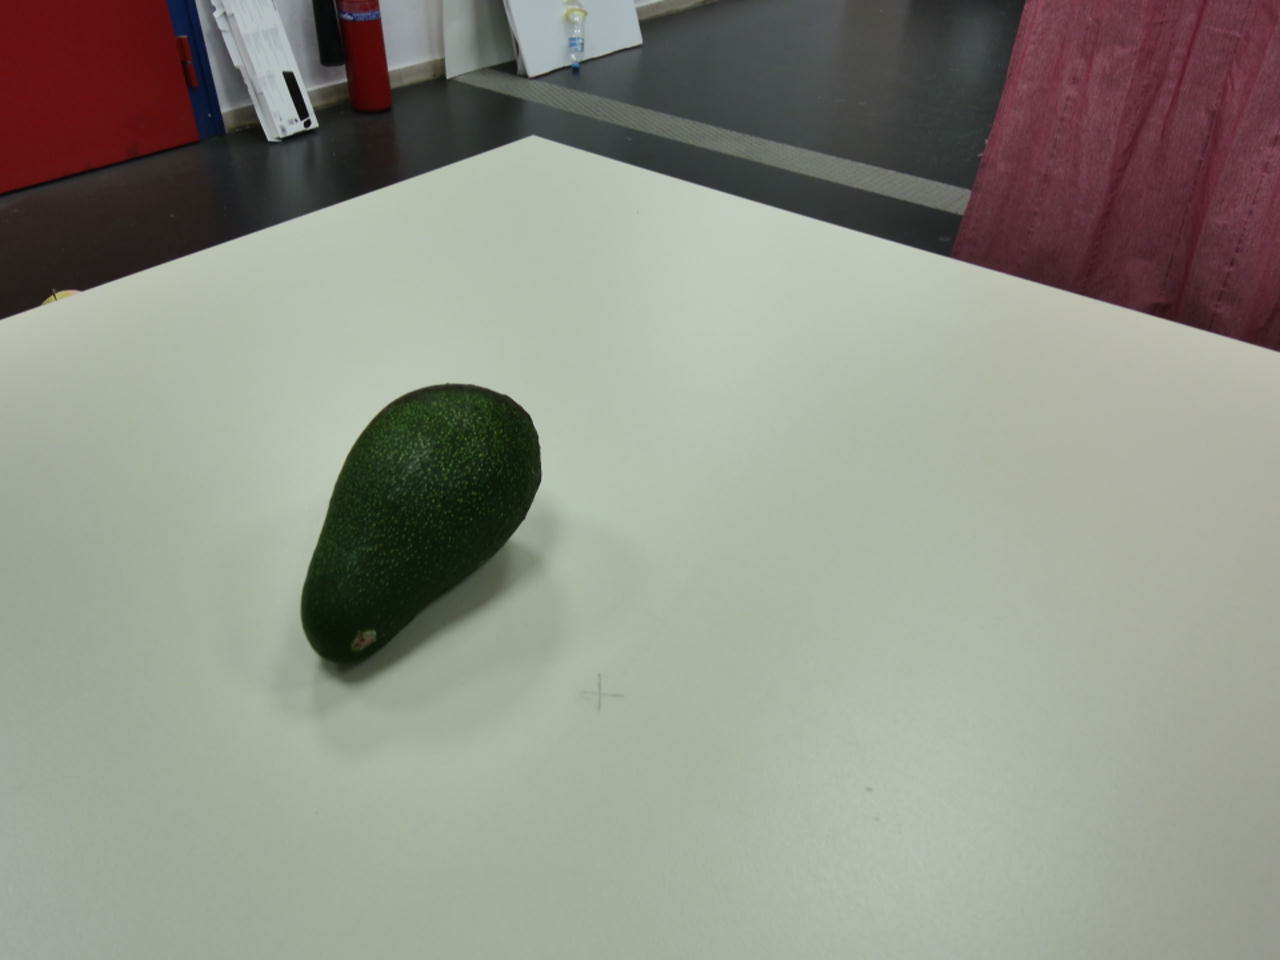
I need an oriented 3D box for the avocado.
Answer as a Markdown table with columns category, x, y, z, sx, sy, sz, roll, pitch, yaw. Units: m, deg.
| category | x | y | z | sx | sy | sz | roll | pitch | yaw |
| --- | --- | --- | --- | --- | --- | --- | --- | --- | --- |
| avocado | -0.091 | 0.007 | 0.395 | 0.074 | 0.076 | 0.123 | 30 | 44 | 34 |
